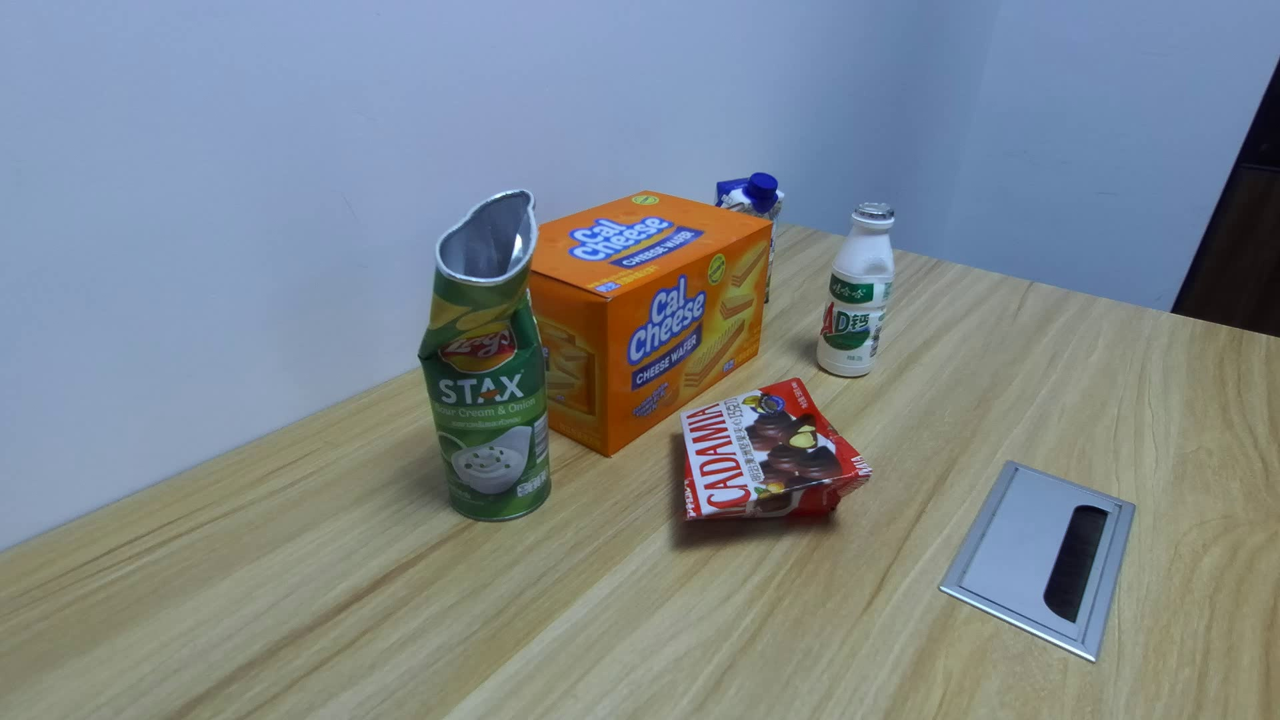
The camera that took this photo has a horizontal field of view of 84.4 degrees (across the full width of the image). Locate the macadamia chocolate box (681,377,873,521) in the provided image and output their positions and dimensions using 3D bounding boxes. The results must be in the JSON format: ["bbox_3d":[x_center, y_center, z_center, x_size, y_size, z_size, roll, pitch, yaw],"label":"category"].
[{"bbox_3d":[0.076,0.063,0.474,0.112,0.056,0.126,-1,29,-7],"label":"macadamia chocolate box"}]

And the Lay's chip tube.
[{"bbox_3d":[-0.087,0.008,0.427,0.079,0.199,0.070,-19,41,-31],"label":"Lay's chip tube"}]

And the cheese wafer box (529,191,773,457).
[{"bbox_3d":[-0.008,-0.045,0.594,0.147,0.129,0.222,22,35,33],"label":"cheese wafer box"}]

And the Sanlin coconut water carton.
[{"bbox_3d":[0.108,-0.124,0.731,0.078,0.142,0.057,-13,37,-27],"label":"Sanlin coconut water carton"}]

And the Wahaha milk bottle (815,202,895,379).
[{"bbox_3d":[0.187,-0.053,0.609,0.053,0.137,0.053,3,26,-1],"label":"Wahaha milk bottle"}]
